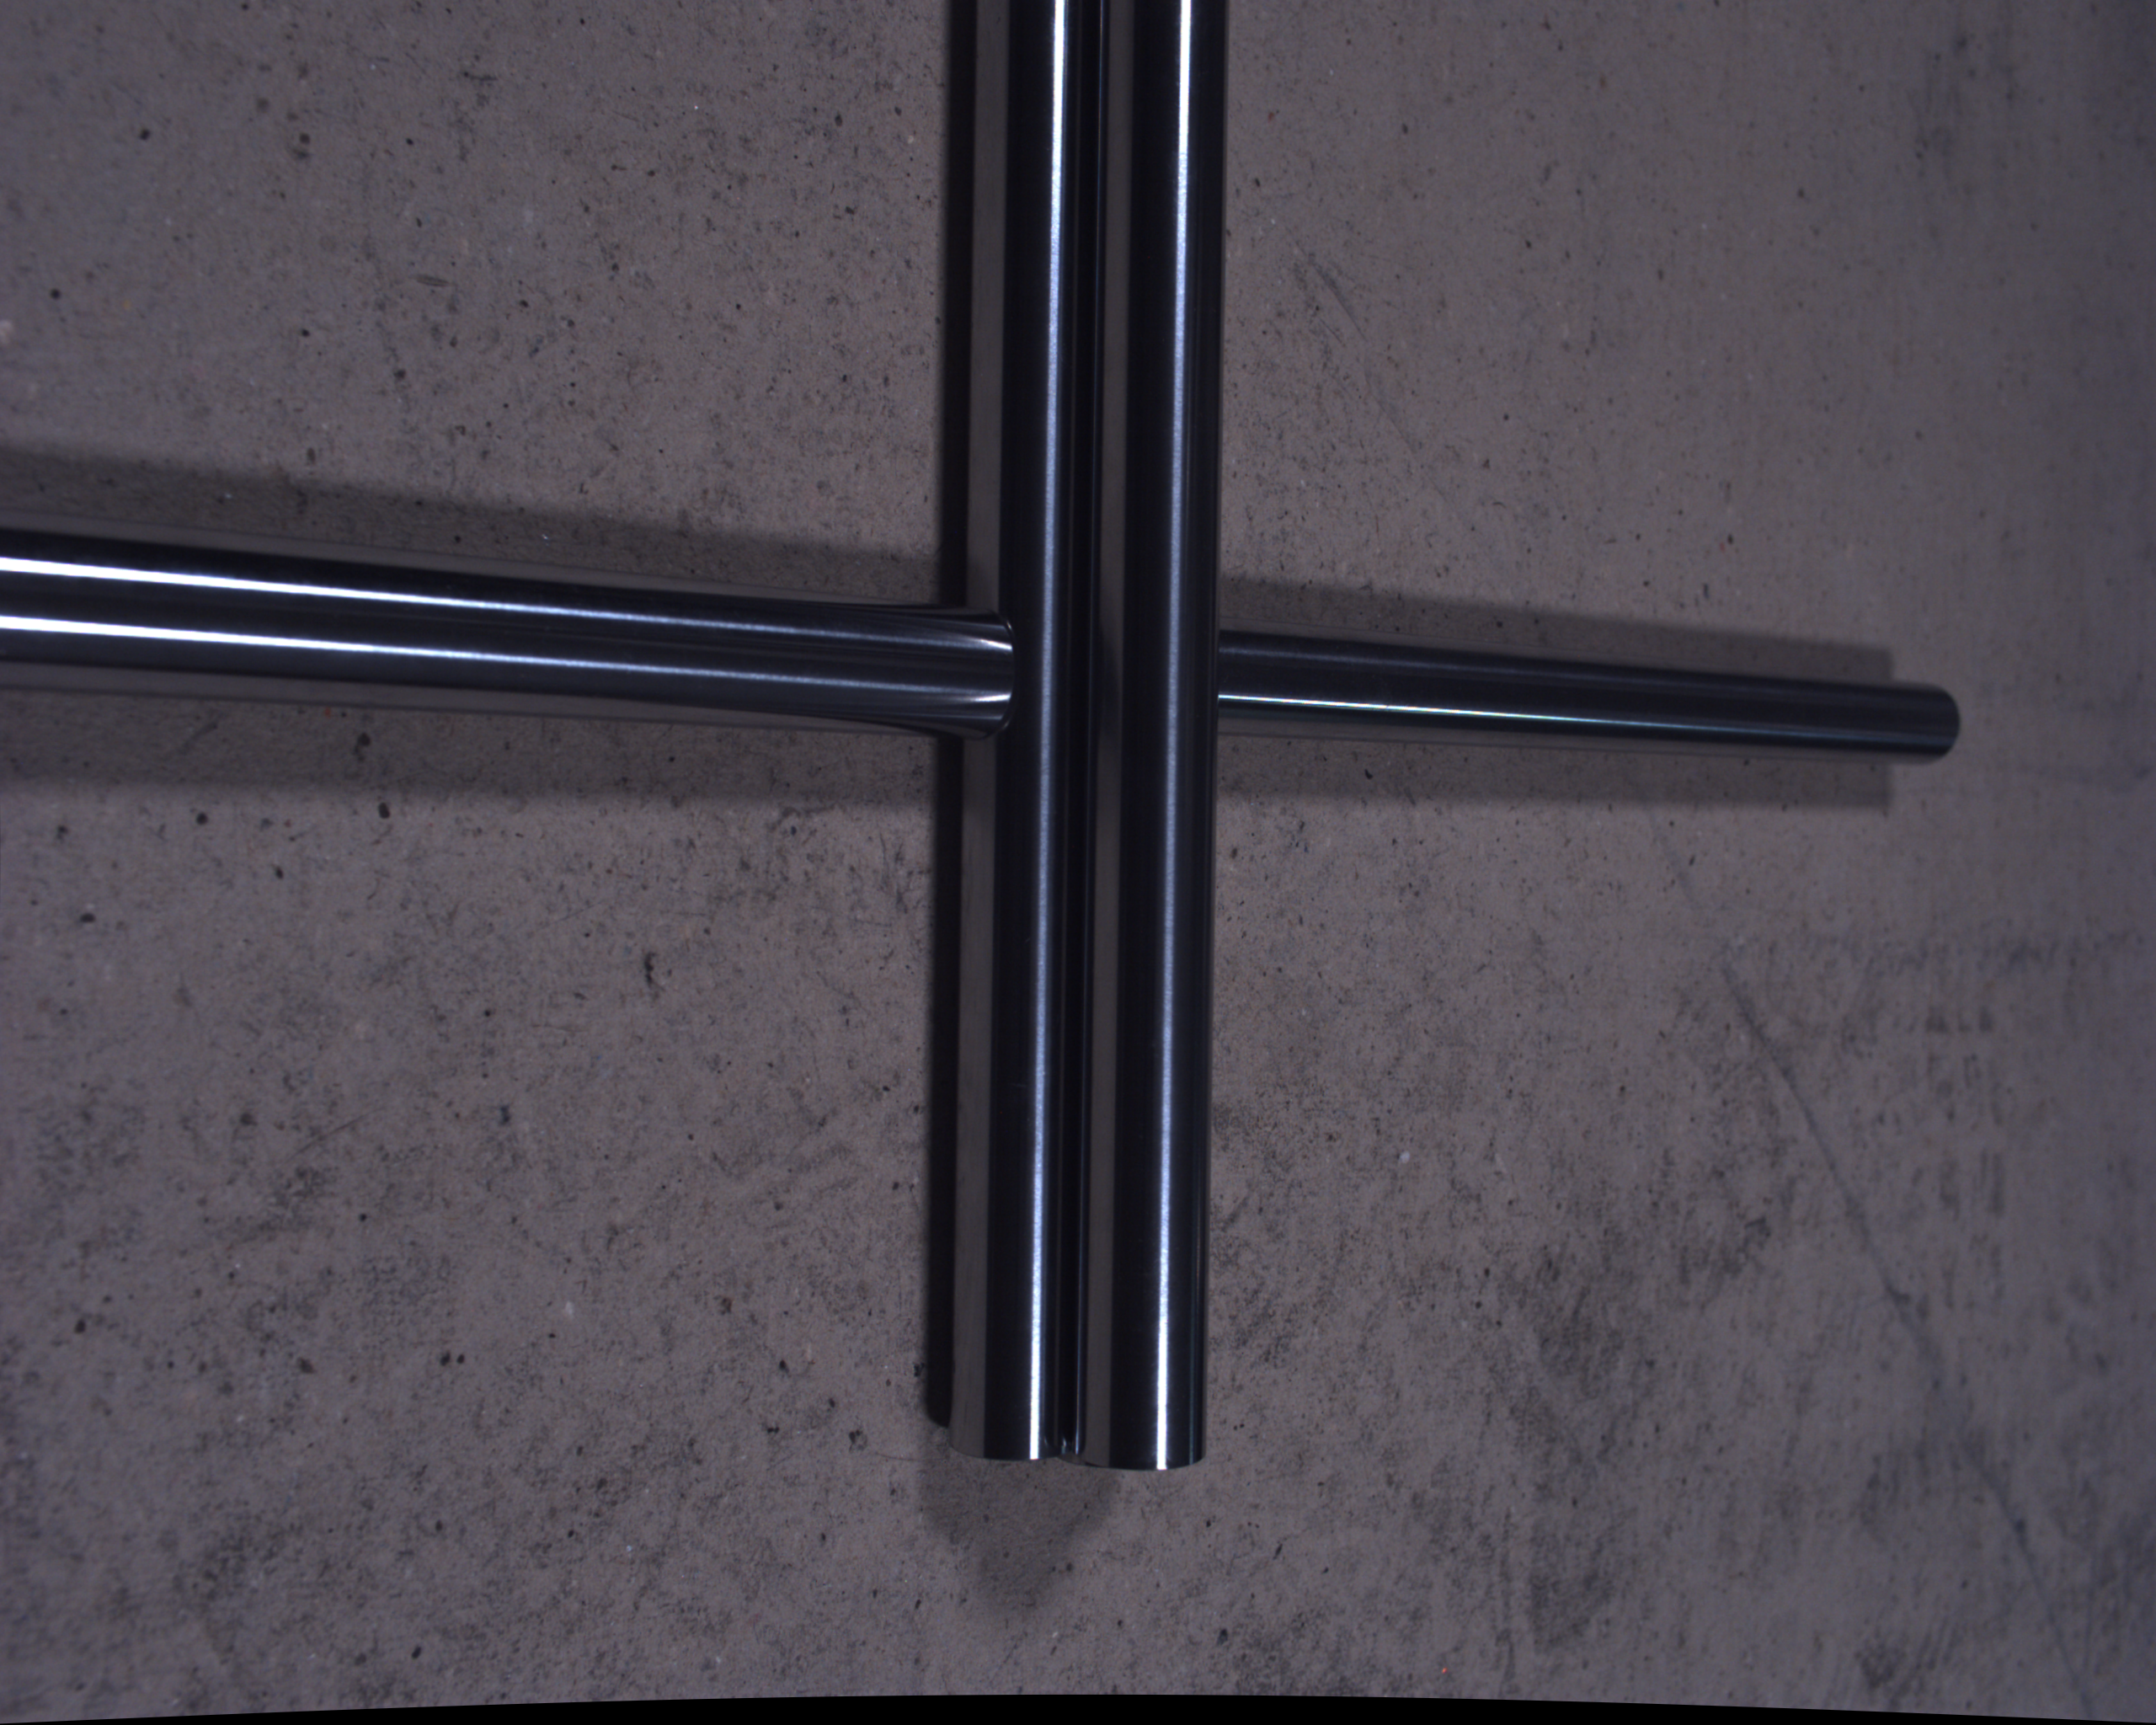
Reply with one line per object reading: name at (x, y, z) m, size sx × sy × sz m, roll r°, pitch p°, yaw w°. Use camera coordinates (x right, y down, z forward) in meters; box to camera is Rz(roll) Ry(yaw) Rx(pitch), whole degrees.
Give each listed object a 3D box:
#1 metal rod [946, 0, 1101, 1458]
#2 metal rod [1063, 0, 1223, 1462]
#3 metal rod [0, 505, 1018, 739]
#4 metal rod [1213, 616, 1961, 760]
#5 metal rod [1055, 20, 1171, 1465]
metal rod at (-0.010, -0.039, 0.401) m, size 0.025 × 0.025 × 0.298 m, roll 2°, pitch 89°, yaw -40°
metal rod at (0.013, -0.040, 0.392) m, size 0.025 × 0.025 × 0.298 m, roll 2°, pitch 89°, yaw -40°
metal rod at (-0.134, -0.036, 0.294) m, size 0.302 × 0.025 × 0.025 m, roll 0°, pitch 90°, yaw -40°
metal rod at (0.135, -0.040, 0.522) m, size 0.302 × 0.025 × 0.025 m, roll -1°, pitch 91°, yaw -40°
metal rod at (0.009, -0.033, 0.417) m, size 0.025 × 0.025 × 0.298 m, roll 2°, pitch 89°, yaw -40°
